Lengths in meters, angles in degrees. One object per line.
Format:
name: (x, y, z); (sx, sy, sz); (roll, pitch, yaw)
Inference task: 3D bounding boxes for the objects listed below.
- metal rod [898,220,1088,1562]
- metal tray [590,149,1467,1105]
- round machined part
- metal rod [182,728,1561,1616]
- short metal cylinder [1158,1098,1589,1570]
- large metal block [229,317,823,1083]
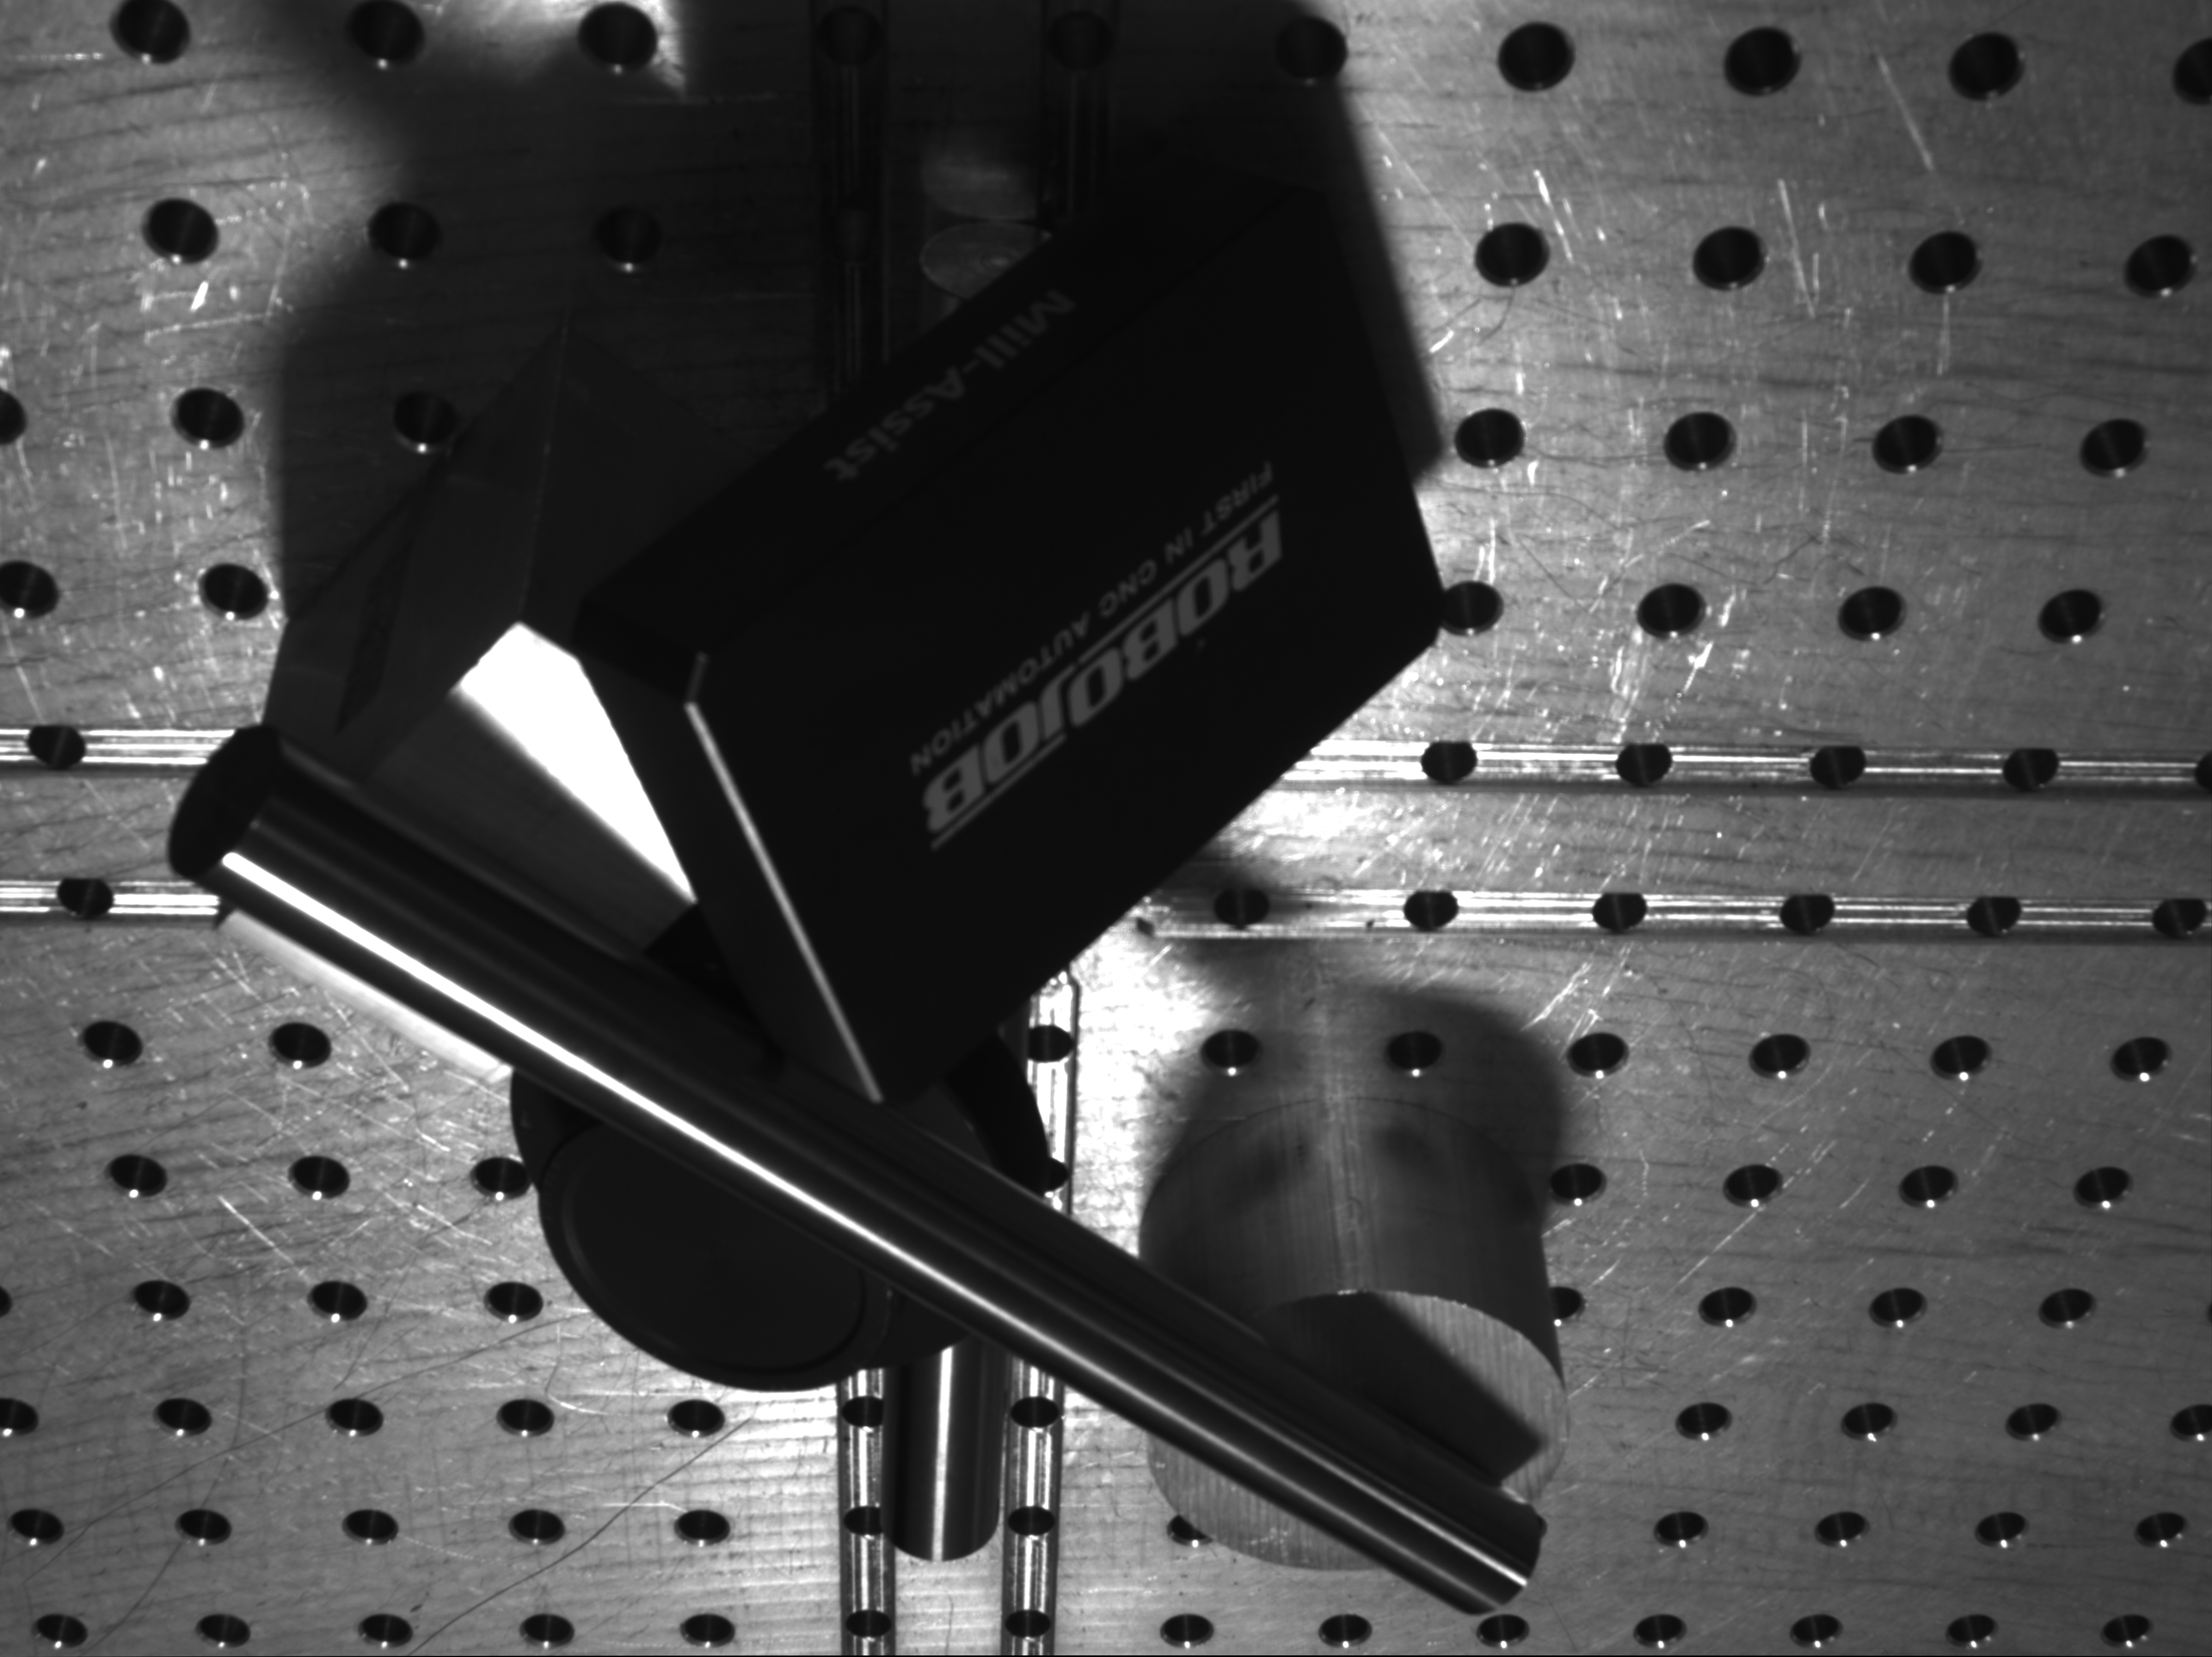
metal rod: (-0.022, 0.027, 0.663); (0.025, 0.025, 0.300); (2, 130, -3)
metal tray: (-0.007, -0.032, 0.560); (0.130, 0.030, 0.090); (-41, 132, -23)
round machined part: (-0.059, 0.065, 0.662); (0.098, 0.042, 0.098); (10, 130, 12)
metal rod: (-0.023, 0.067, 0.605); (0.025, 0.025, 0.301); (-35, 131, 25)
short metal cylinder: (0.051, 0.098, 0.710); (0.080, 0.050, 0.080); (-1, 130, -1)
large metal block: (-0.090, -0.021, 0.586); (0.050, 0.080, 0.080); (34, 121, -26)
